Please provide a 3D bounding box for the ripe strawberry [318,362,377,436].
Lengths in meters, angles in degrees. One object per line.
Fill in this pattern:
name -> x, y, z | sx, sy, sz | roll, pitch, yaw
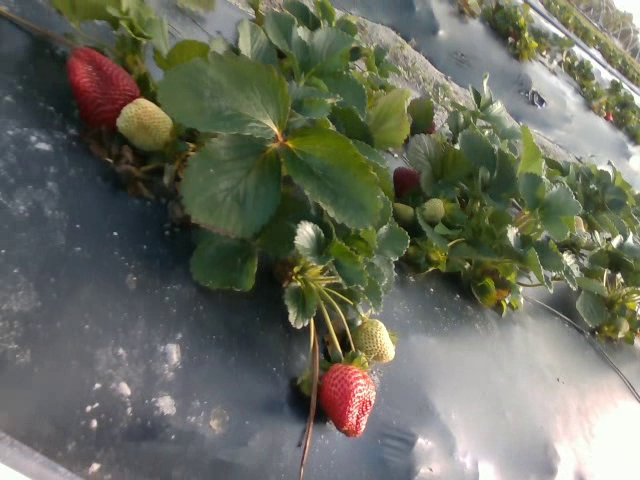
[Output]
ripe strawberry -> 0.025, 0.111, 0.440 | 0.047, 0.050, 0.034 | 22, -30, -32

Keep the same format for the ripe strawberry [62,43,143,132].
ripe strawberry -> -0.166, -0.115, 0.480 | 0.057, 0.071, 0.058 | 8, 44, 35
